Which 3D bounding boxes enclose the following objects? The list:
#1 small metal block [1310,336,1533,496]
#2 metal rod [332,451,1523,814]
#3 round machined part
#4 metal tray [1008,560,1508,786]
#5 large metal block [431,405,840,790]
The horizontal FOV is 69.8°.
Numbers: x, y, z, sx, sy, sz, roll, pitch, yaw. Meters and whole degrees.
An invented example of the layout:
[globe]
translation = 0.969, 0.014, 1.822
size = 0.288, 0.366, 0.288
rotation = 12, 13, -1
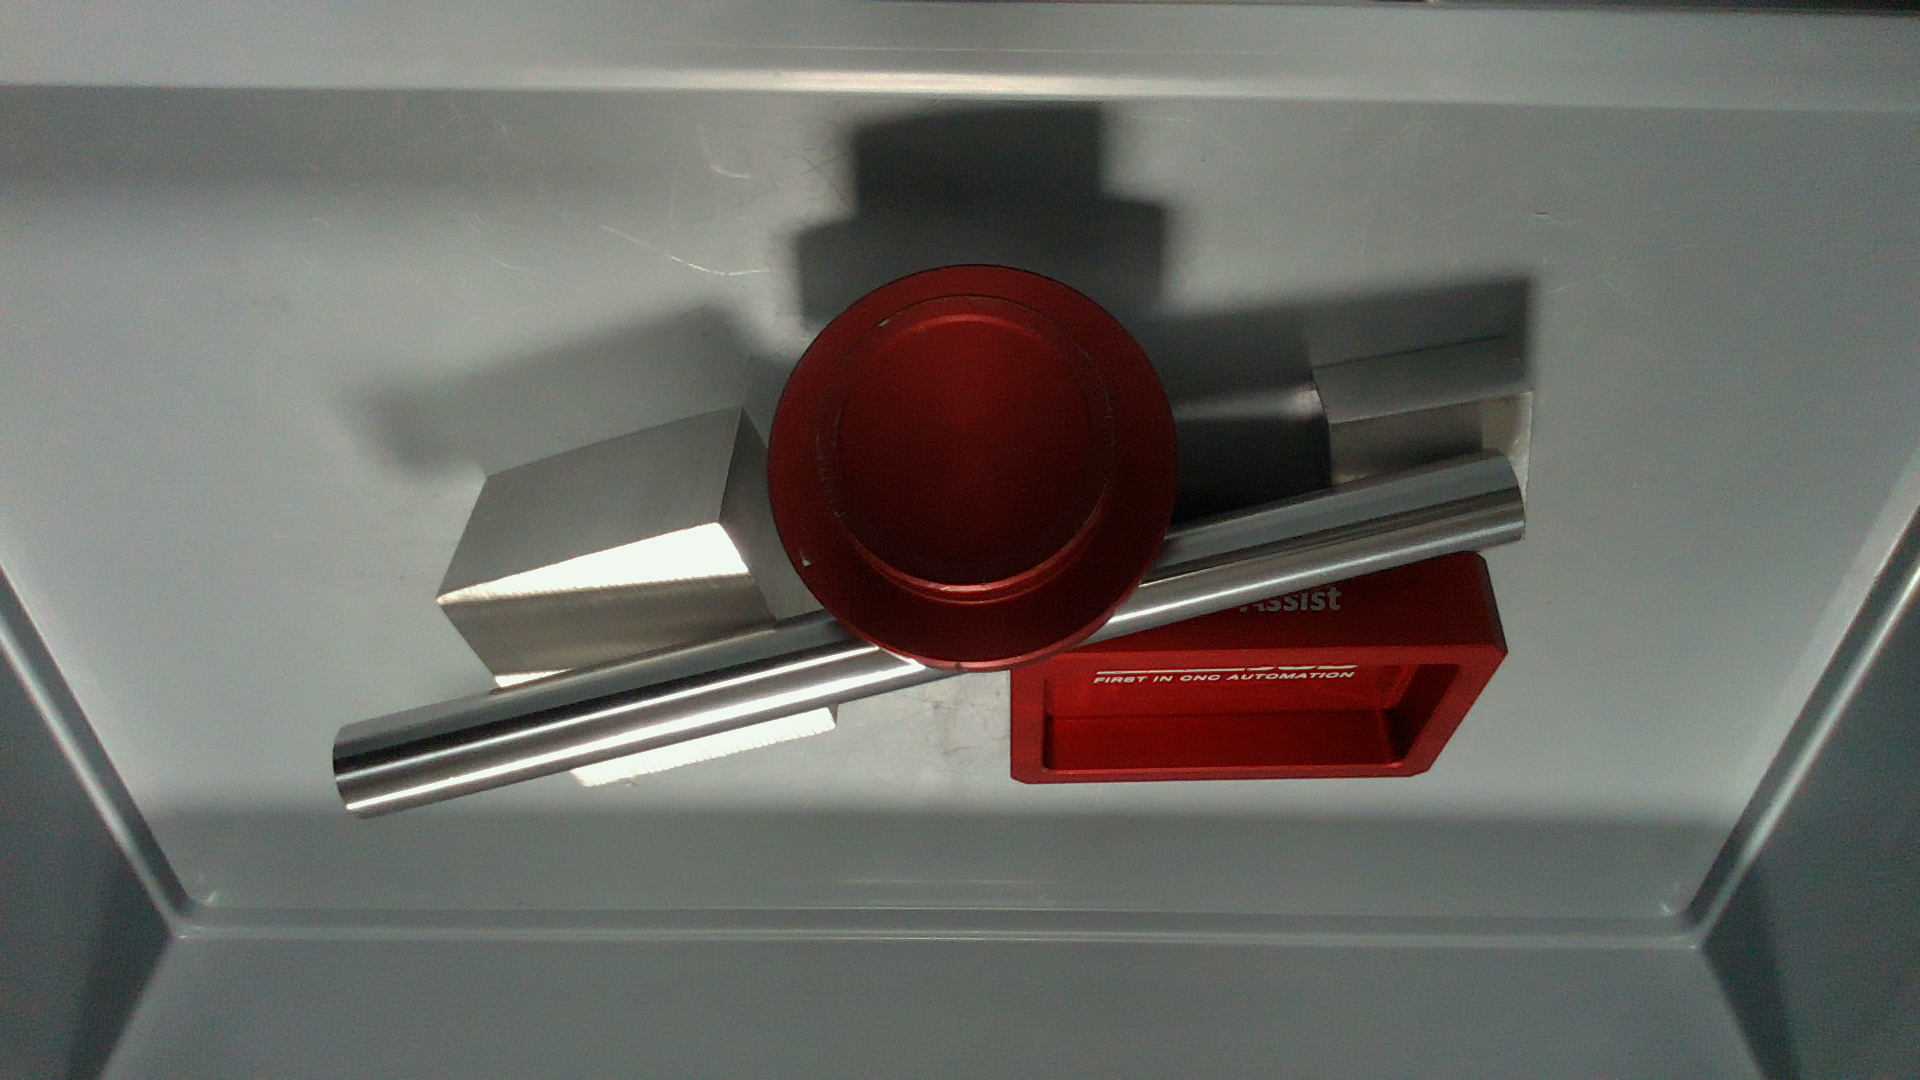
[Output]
[small metal block]
translation = 0.123, -0.023, 0.370
size = 0.050, 0.025, 0.050
rotation = -9, 130, 7
[metal rod]
translation = -0.009, 0.024, 0.351
size = 0.300, 0.025, 0.025
rotation = -13, 129, 2
[round machined part]
translation = 0.002, -0.019, 0.323
size = 0.098, 0.098, 0.042
rotation = -4, 171, 3
[metal tray]
translation = 0.079, 0.040, 0.402
size = 0.130, 0.030, 0.090
rotation = -2, 150, 1
[large metal block]
translation = -0.084, 0.018, 0.386
size = 0.080, 0.050, 0.080
rotation = -14, 129, 11
